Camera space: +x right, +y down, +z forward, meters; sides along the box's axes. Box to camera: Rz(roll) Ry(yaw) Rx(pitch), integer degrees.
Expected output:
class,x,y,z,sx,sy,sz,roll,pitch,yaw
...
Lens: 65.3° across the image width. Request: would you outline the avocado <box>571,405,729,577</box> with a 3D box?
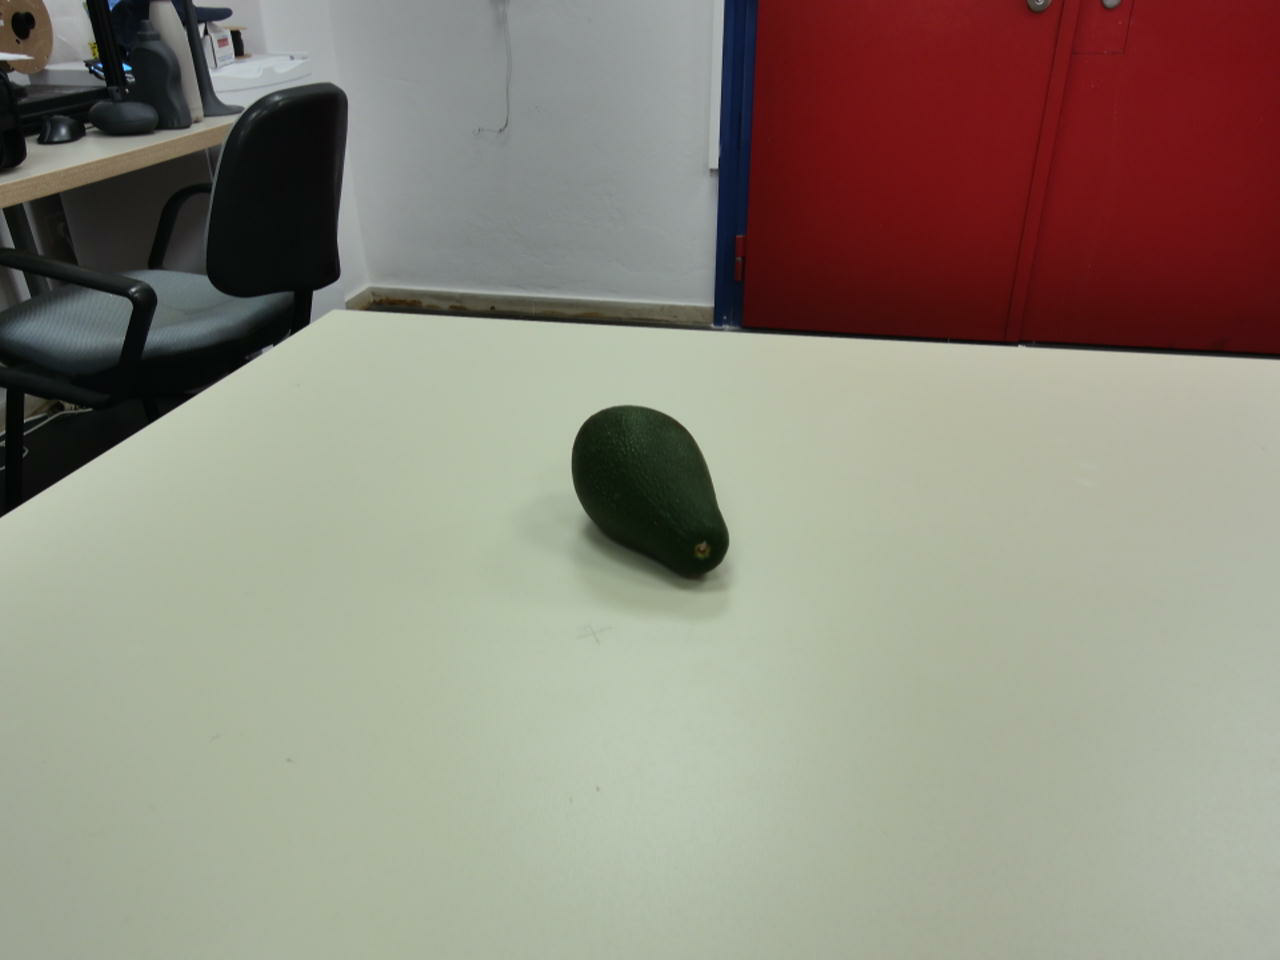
class,x,y,z,sx,sy,sz,roll,pitch,yaw
avocado,0.003,0.003,0.521,0.072,0.071,0.109,-6,26,-9
